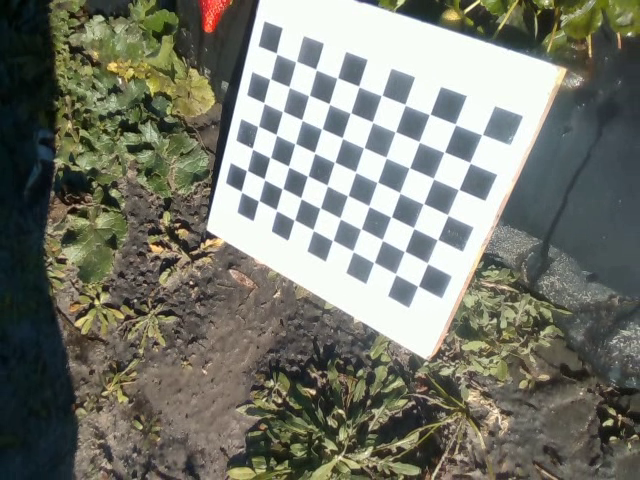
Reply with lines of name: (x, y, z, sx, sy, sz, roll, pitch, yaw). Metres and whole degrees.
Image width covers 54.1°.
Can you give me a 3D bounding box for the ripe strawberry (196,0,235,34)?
ripe strawberry: (-0.109, -0.238, 0.626, 0.048, 0.069, 0.040, 9, 8, 33)
